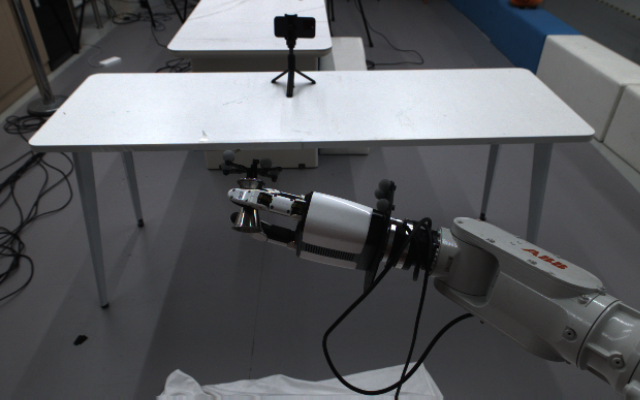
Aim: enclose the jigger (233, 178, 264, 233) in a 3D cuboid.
[{"bbox_3d":[-0.098,0.007,0.665,0.043,0.043,0.071,3,76,1],"label":"jigger"}]
